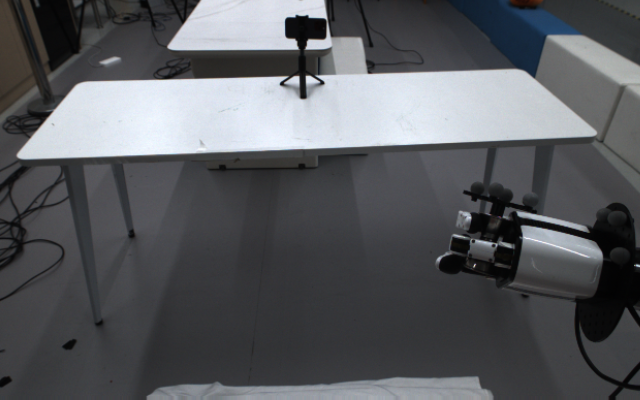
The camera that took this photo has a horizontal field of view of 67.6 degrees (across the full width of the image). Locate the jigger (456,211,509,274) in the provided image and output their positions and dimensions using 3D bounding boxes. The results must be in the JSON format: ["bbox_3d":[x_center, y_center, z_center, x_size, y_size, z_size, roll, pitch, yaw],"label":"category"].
[{"bbox_3d":[0.201,0.051,0.578,0.043,0.071,0.043,17,2,-1],"label":"jigger"}]
